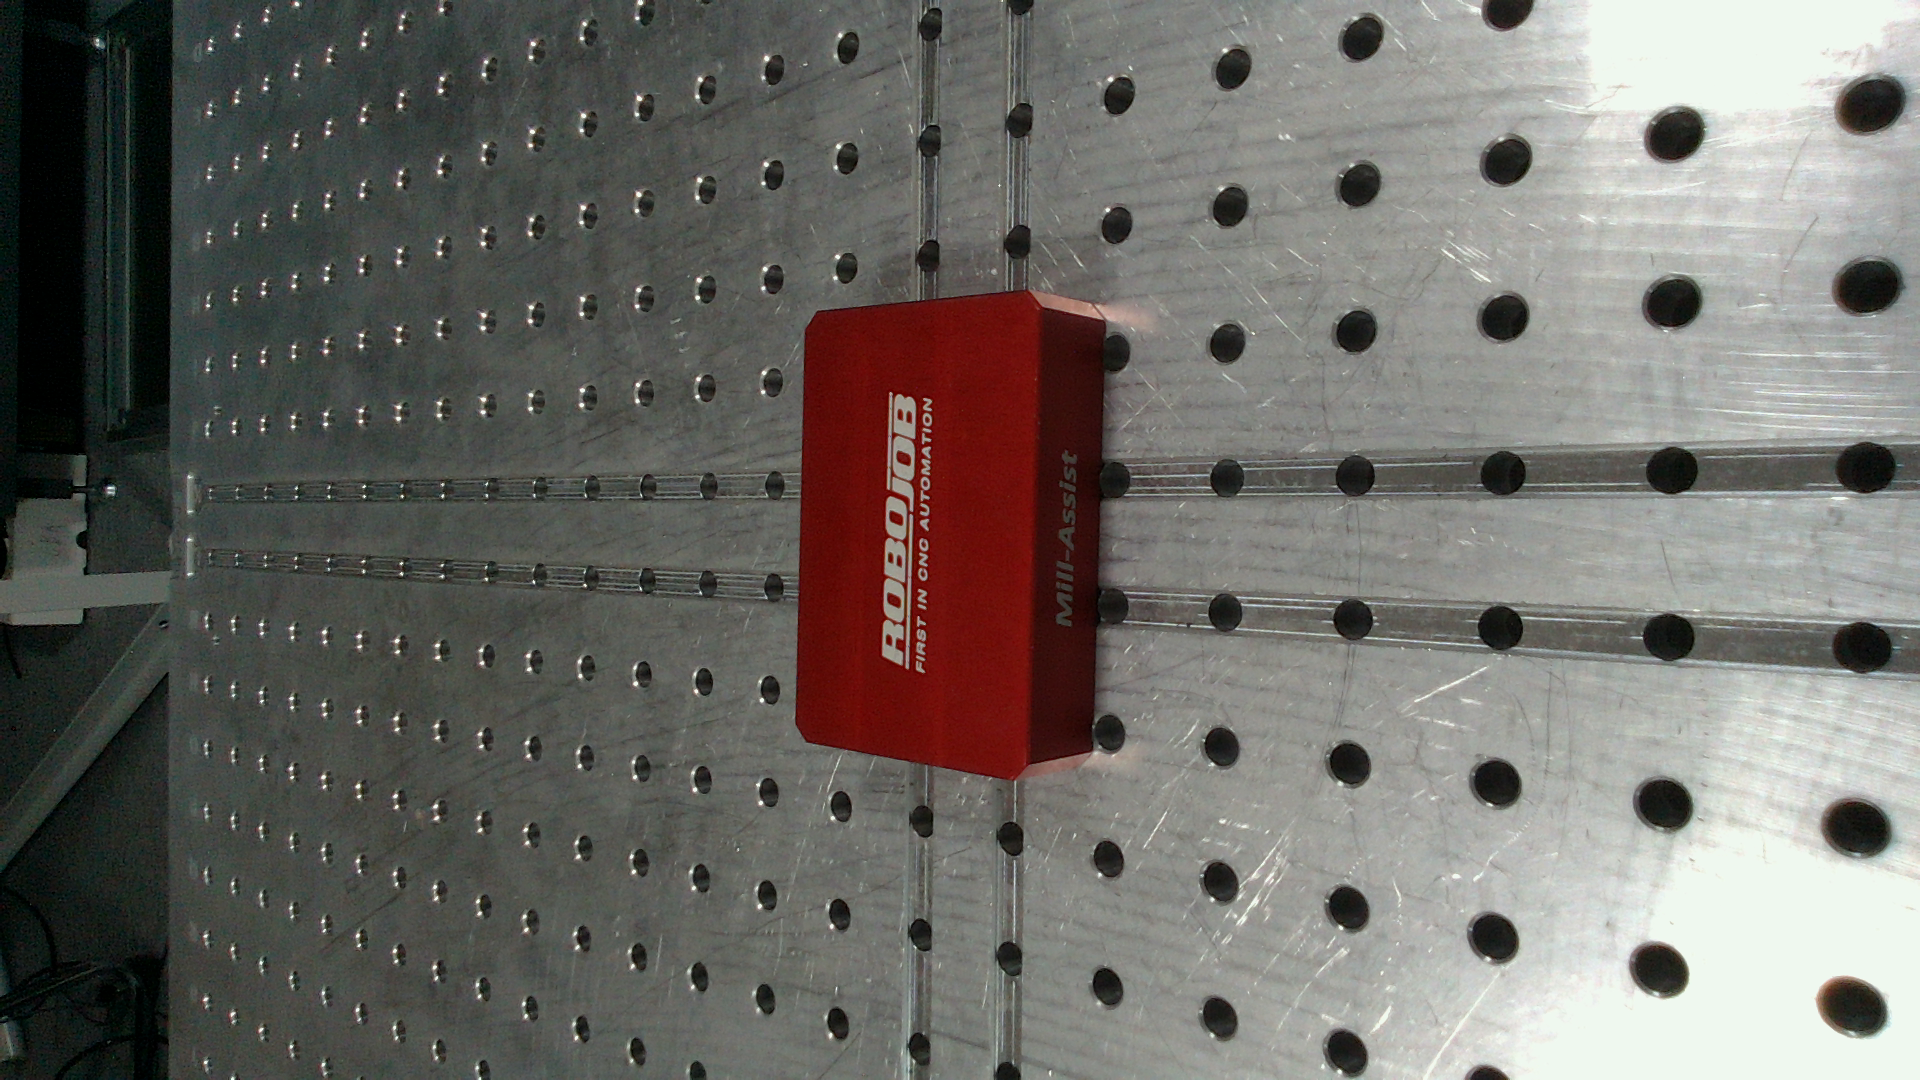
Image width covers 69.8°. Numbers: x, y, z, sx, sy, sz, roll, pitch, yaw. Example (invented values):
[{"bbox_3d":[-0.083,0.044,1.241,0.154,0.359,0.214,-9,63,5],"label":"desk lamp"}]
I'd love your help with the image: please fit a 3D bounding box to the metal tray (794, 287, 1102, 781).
[{"bbox_3d":[-0.006,-0.003,0.399,0.090,0.030,0.130,3,92,40],"label":"metal tray"}]
